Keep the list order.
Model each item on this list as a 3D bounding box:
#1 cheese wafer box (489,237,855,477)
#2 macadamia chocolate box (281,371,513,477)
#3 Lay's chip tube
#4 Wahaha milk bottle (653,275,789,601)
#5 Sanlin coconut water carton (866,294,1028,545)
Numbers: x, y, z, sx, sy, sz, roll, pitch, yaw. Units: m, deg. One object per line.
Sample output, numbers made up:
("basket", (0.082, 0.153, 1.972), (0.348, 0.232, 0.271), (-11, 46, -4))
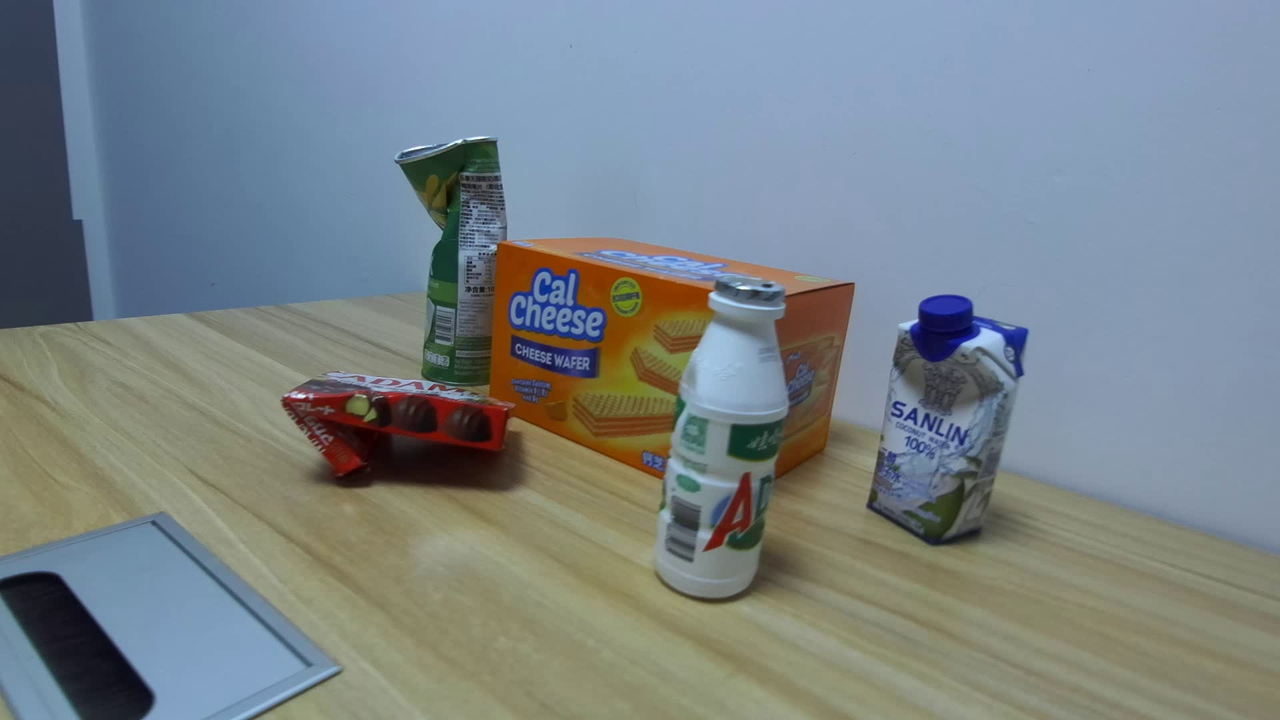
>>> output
("cheese wafer box", (0.019, -0.009, 0.523), (0.221, 0.129, 0.149), (17, 19, 34))
("macadamia chocolate box", (-0.143, 0.033, 0.442), (0.127, 0.056, 0.112), (3, 17, -9))
("Lay's chip tube", (-0.152, -0.079, 0.583), (0.071, 0.199, 0.078), (-14, 23, -35))
("Wahaha milk bottle", (0.038, 0.042, 0.332), (0.053, 0.136, 0.053), (7, 15, -1))
("Sanlin coconut water carton", (0.179, 0.032, 0.417), (0.058, 0.142, 0.077), (-9, 21, -31))
